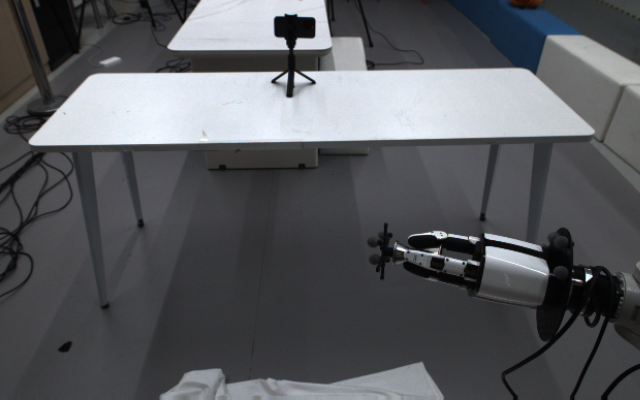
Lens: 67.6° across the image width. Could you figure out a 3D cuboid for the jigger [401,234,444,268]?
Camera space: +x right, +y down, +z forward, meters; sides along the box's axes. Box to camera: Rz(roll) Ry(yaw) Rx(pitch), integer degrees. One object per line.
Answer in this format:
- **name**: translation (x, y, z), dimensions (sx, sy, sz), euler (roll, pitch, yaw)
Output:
- **jigger**: translation (0.154, 0.078, 0.729), dimensions (0.071, 0.043, 0.043), euler (4, 34, 19)
